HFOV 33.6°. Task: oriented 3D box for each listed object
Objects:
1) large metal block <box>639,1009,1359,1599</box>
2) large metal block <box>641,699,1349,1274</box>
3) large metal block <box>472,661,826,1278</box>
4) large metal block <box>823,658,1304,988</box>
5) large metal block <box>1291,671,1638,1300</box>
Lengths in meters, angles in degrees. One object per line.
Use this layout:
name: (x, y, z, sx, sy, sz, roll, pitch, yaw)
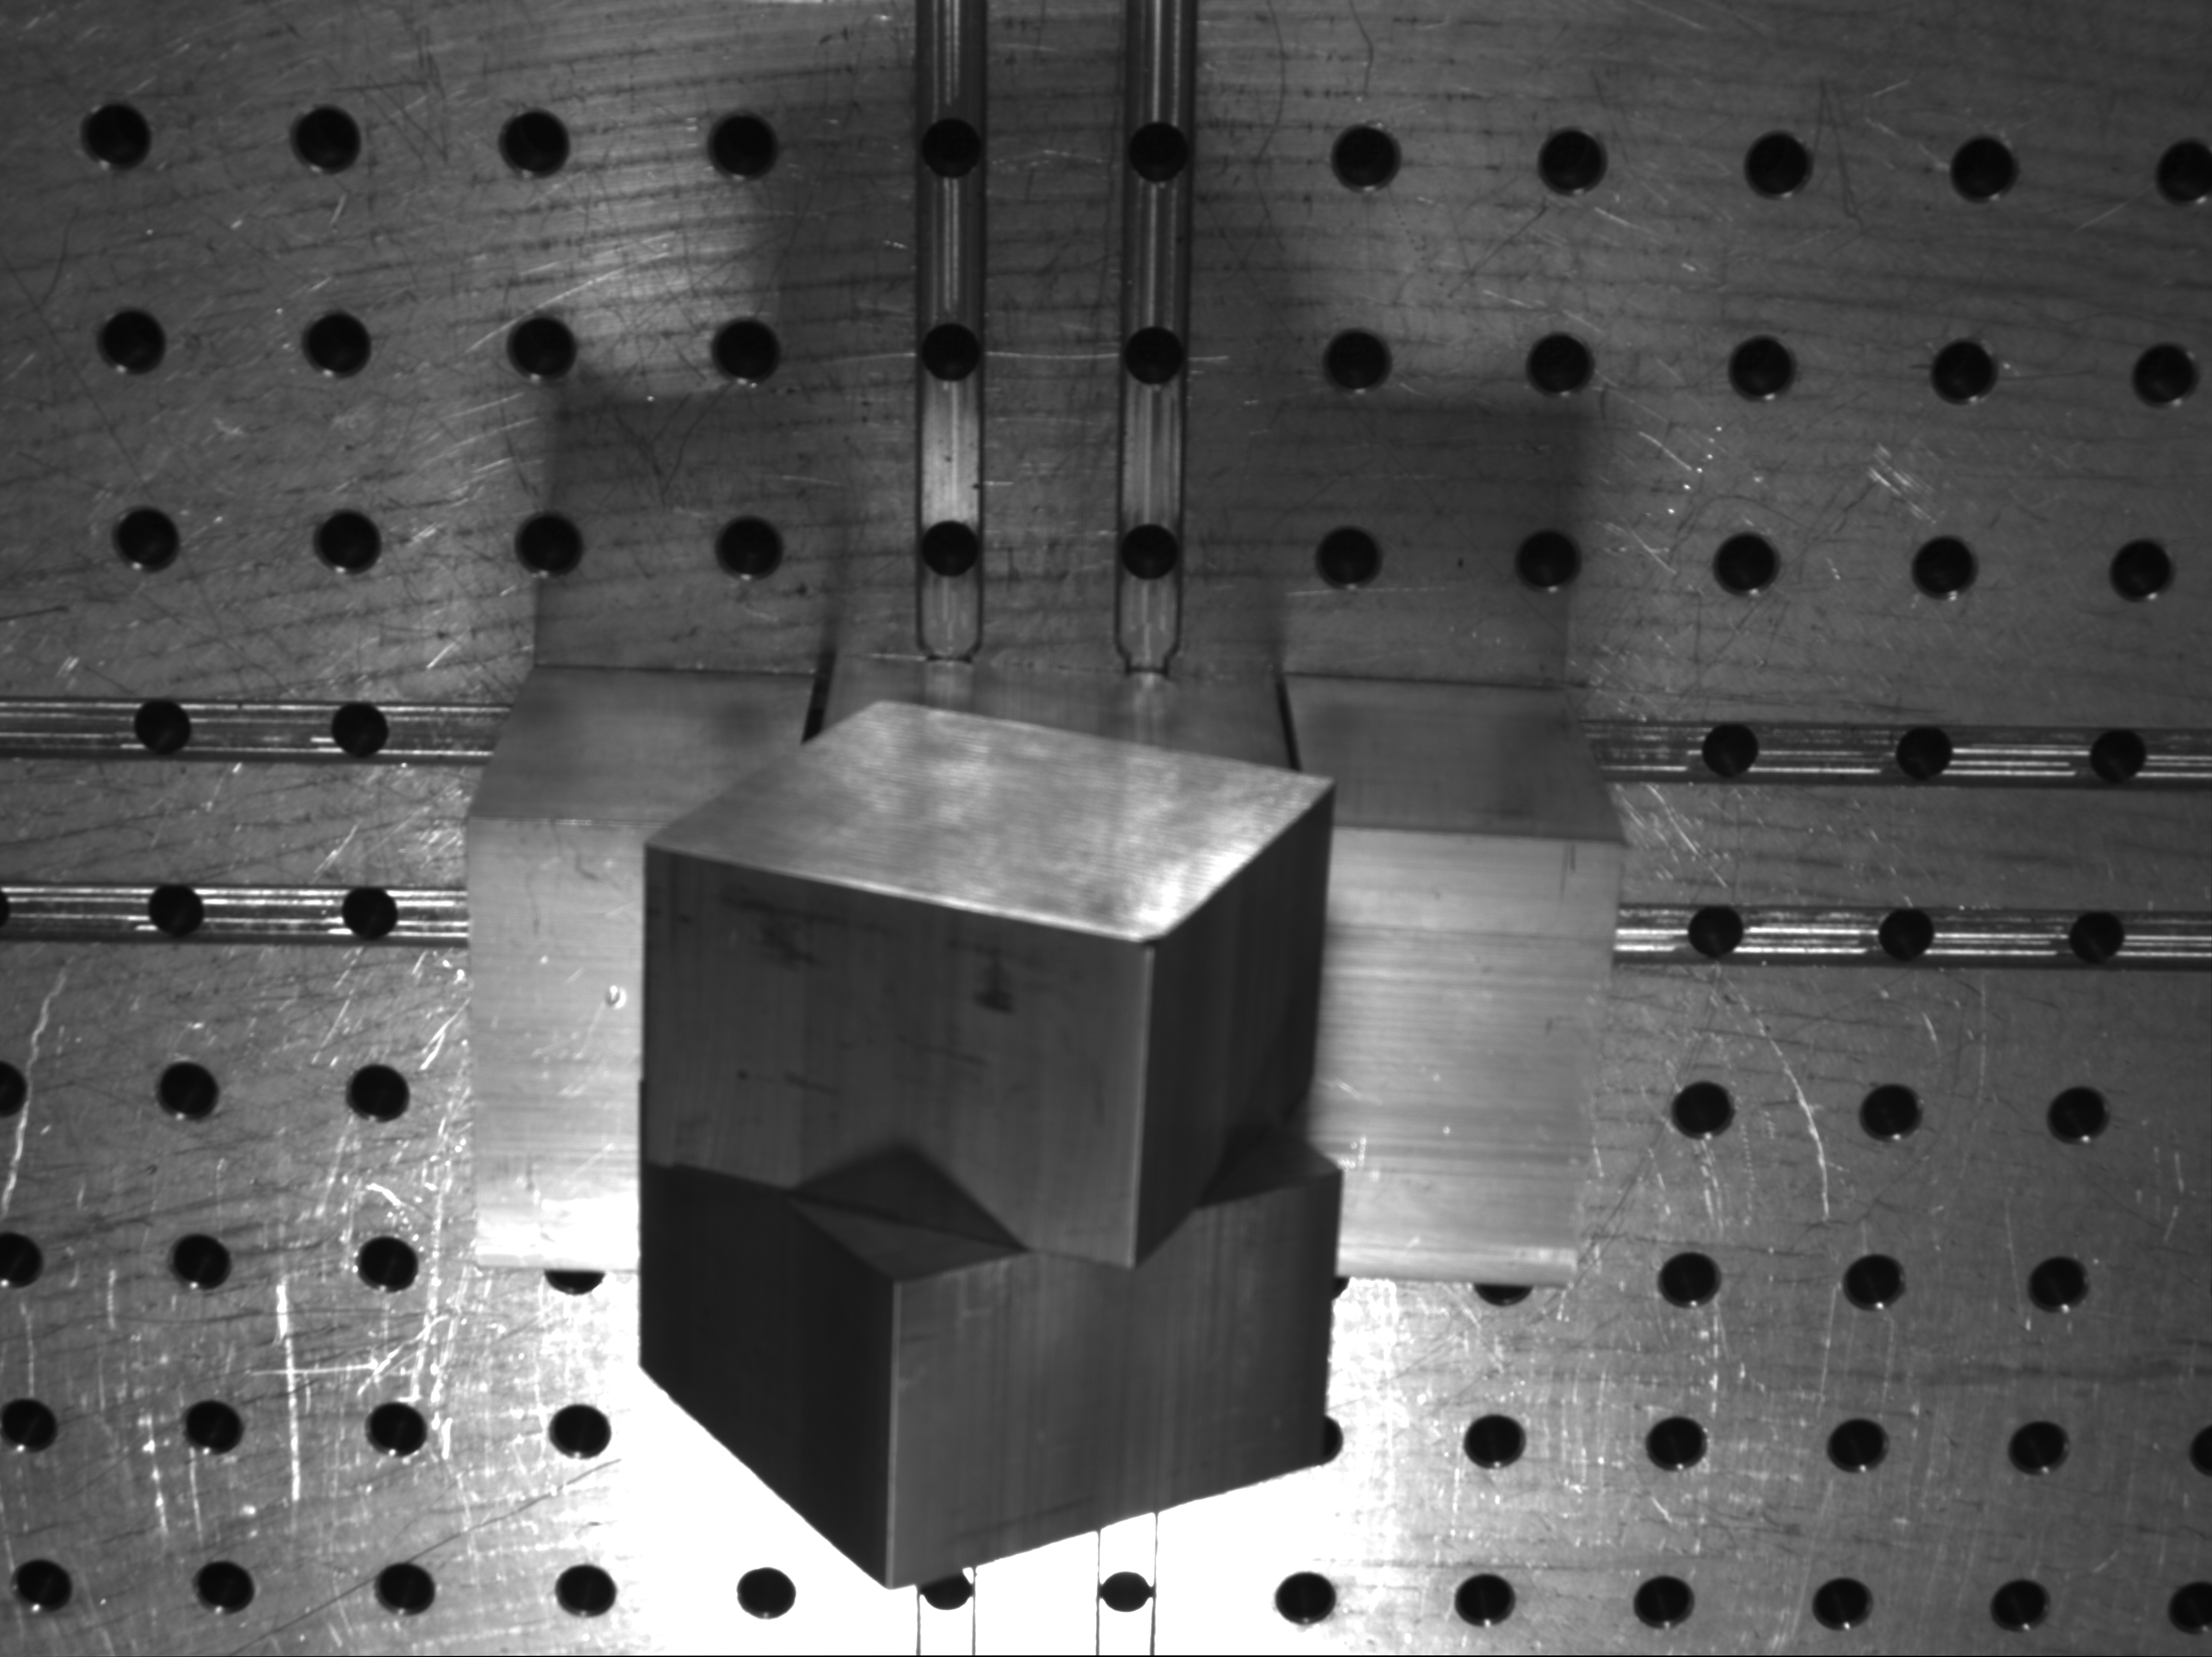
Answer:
large metal block: (-0.018, 0.069, 0.570, 0.080, 0.080, 0.050, -10, 113, -32)
large metal block: (-0.016, 0.021, 0.556, 0.080, 0.080, 0.050, 10, 111, 20)
large metal block: (-0.076, 0.022, 0.624, 0.050, 0.080, 0.080, 2, 110, -1)
large metal block: (-0.009, 0.018, 0.636, 0.080, 0.050, 0.080, 3, 110, -2)
large metal block: (0.056, 0.025, 0.626, 0.050, 0.080, 0.080, 4, 110, -2)
